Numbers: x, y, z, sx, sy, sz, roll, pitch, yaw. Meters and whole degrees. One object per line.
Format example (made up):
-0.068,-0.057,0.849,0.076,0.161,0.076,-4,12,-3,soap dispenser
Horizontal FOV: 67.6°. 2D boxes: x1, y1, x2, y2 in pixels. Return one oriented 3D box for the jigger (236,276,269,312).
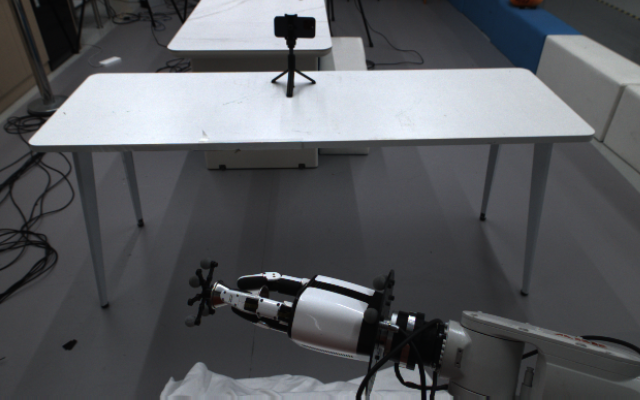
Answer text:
-0.102,0.130,0.654,0.071,0.043,0.043,6,35,14,jigger
